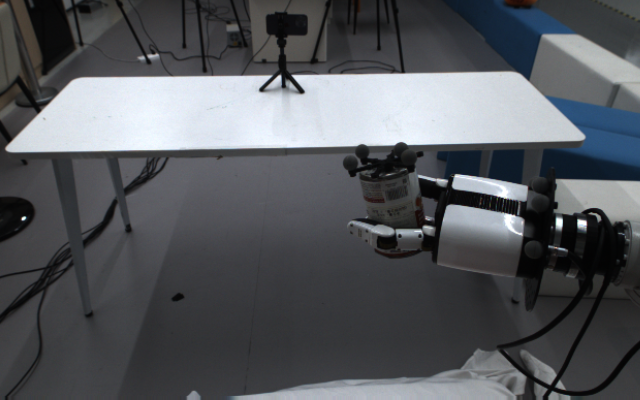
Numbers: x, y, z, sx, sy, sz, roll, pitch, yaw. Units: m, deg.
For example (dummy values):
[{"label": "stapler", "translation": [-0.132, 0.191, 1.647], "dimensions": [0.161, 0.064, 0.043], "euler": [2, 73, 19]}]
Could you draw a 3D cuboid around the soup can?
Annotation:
[{"label": "soup can", "translation": [0.090, 0.009, 0.570], "dimensions": [0.067, 0.101, 0.067], "euler": [-13, 20, 5]}]
